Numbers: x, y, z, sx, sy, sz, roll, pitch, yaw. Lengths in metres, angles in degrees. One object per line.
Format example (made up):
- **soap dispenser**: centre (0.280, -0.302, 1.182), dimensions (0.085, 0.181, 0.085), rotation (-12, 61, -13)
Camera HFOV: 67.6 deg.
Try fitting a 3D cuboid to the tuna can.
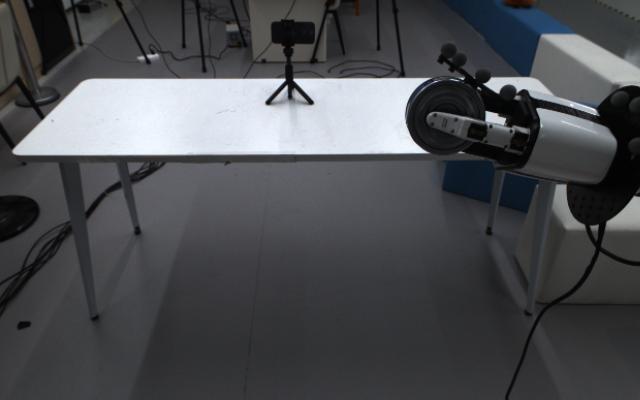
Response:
- **tuna can**: centre (0.141, -0.097, 0.546), dimensions (0.085, 0.085, 0.034), rotation (7, 19, 6)
